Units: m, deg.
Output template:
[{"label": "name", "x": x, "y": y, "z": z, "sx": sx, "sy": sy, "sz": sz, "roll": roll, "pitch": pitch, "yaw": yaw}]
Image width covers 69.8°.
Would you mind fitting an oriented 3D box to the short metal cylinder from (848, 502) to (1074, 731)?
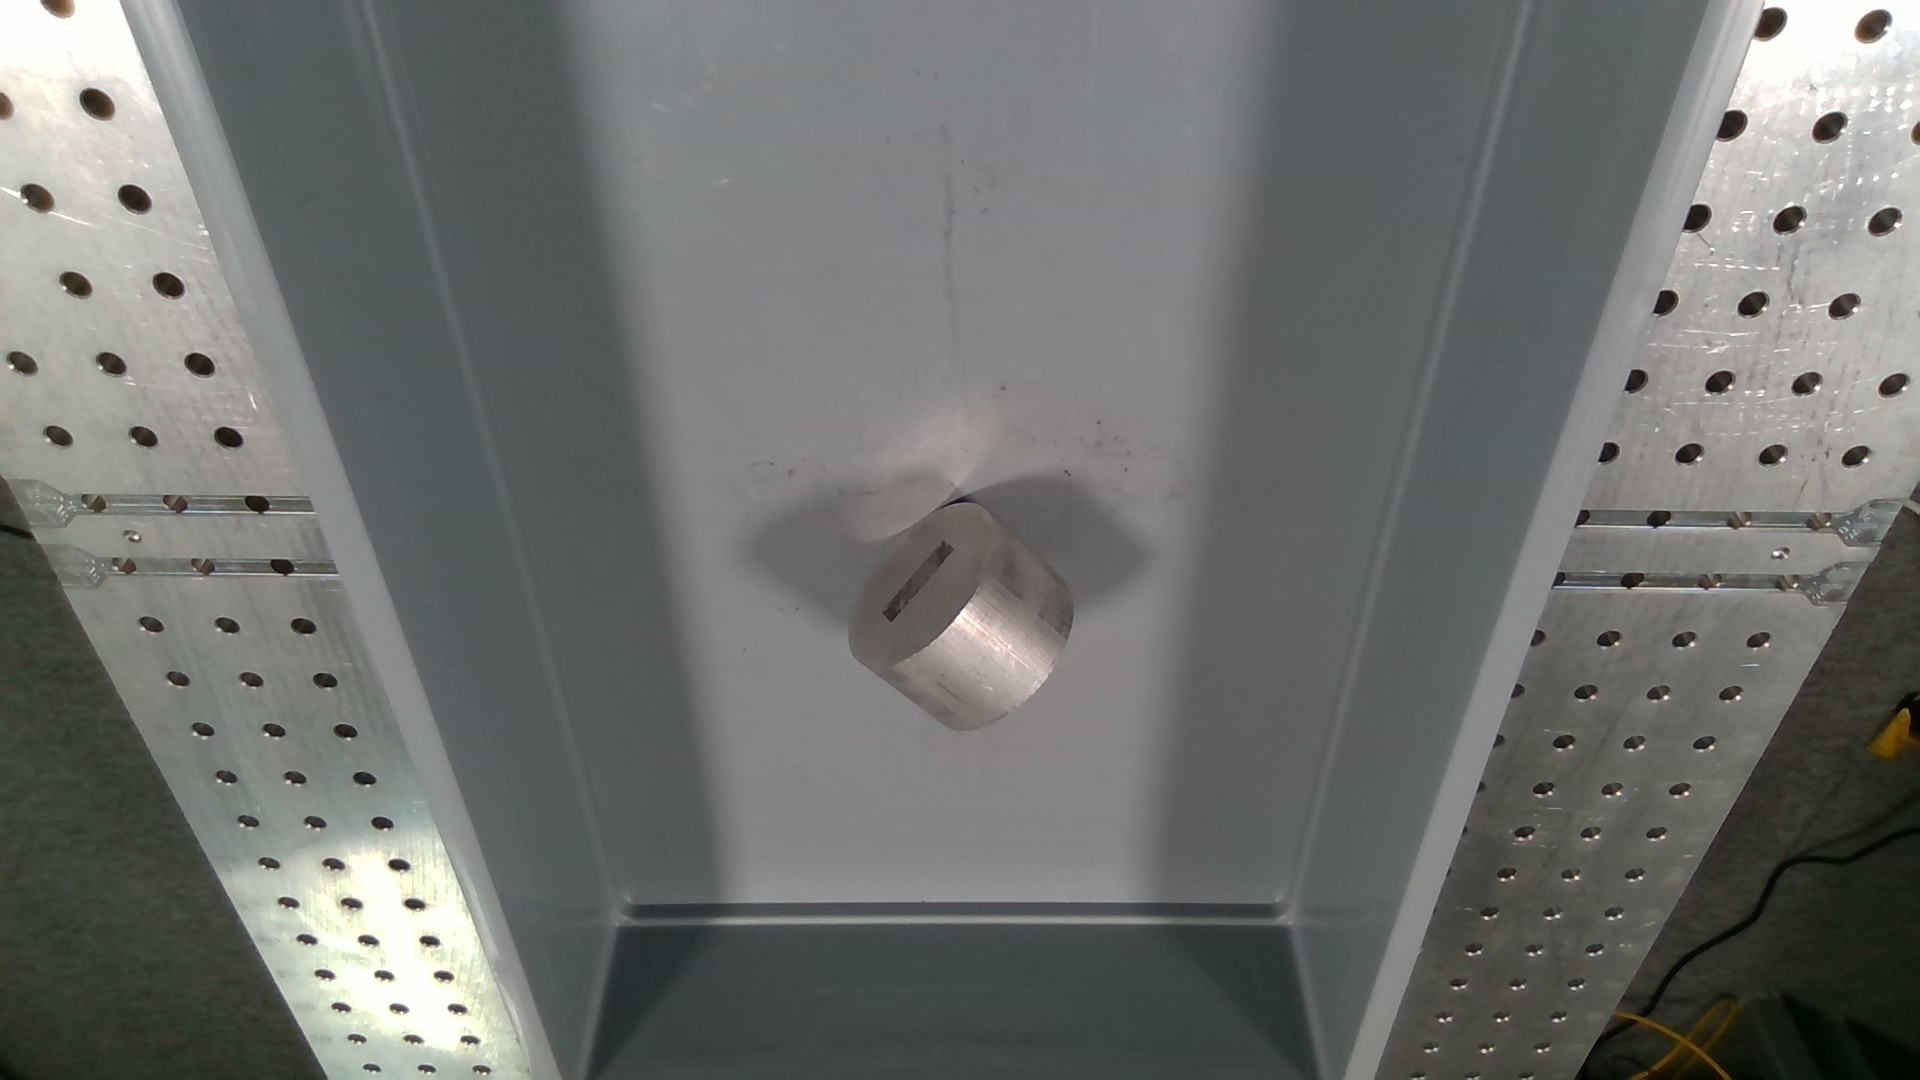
[{"label": "short metal cylinder", "x": 0.000, "y": 0.031, "z": 0.567, "sx": 0.080, "sy": 0.080, "sz": 0.050, "roll": -34, "pitch": 122, "yaw": 25}]
